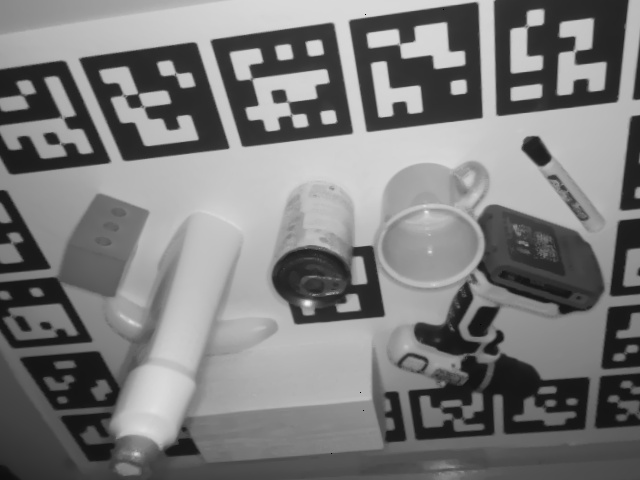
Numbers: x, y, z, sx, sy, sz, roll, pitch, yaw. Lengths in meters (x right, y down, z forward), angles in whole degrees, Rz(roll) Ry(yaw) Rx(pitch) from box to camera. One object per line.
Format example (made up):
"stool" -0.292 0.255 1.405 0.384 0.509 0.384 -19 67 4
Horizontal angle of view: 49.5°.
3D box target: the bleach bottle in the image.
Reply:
"bleach bottle" -0.100 0.086 0.603 0.068 0.253 0.101 16 128 -8

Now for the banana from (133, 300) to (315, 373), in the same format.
"banana" -0.104 0.110 0.750 0.197 0.039 0.073 6 113 2

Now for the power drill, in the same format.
"power drill" 0.205 0.075 0.704 0.185 0.058 0.184 17 127 -5

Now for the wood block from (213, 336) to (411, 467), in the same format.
"wood block" -0.008 0.182 0.771 0.205 0.092 0.089 -9 125 10

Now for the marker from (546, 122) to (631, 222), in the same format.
"marker" 0.240 -0.061 0.621 0.019 0.020 0.121 -36 116 24

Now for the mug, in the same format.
"mug" 0.125 -0.023 0.613 0.094 0.082 0.115 29 120 -14

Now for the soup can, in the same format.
"soup can" 0.020 0.005 0.621 0.068 0.103 0.067 2 131 4

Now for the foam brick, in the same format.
"foam brick" -0.181 0.007 0.659 0.053 0.079 0.050 19 128 -12
